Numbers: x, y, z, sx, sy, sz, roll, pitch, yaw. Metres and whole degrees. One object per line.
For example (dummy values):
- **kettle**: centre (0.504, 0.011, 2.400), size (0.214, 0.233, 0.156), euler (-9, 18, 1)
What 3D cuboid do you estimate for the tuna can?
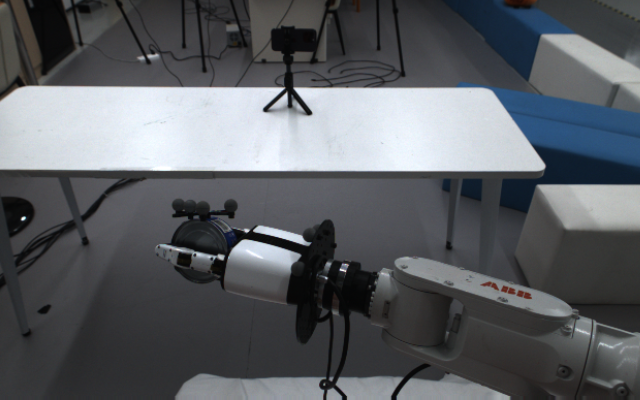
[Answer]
- **tuna can**: centre (-0.150, 0.066, 0.641), size (0.085, 0.085, 0.034), euler (15, 9, 18)
